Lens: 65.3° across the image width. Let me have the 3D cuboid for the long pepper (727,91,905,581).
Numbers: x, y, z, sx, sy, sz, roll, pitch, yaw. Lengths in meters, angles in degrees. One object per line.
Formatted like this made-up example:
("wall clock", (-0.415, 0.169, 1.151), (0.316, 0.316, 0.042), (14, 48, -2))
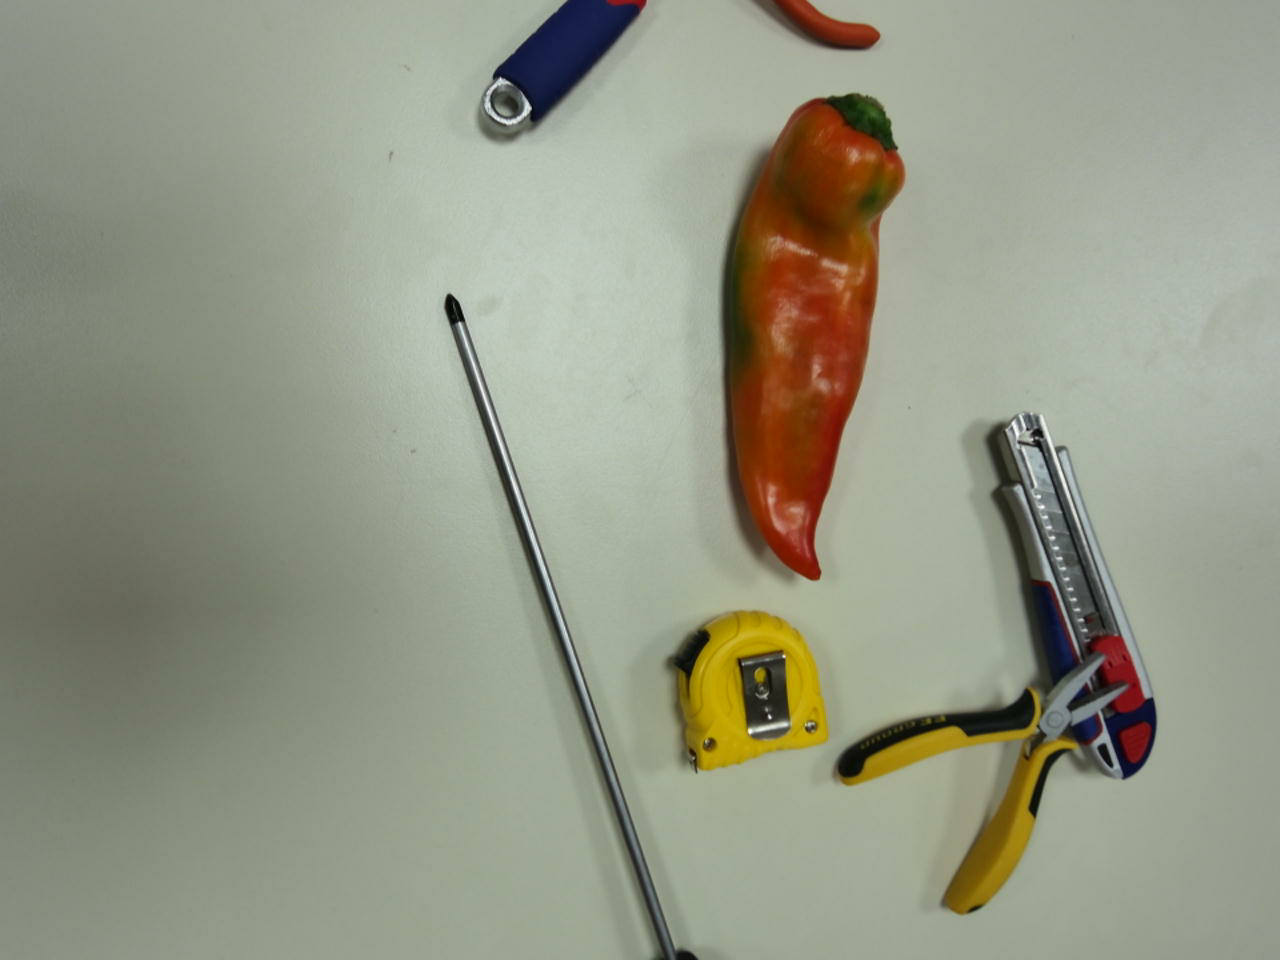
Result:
("long pepper", (0.074, -0.058, 0.418), (0.066, 0.065, 0.199), (5, 90, -11))
